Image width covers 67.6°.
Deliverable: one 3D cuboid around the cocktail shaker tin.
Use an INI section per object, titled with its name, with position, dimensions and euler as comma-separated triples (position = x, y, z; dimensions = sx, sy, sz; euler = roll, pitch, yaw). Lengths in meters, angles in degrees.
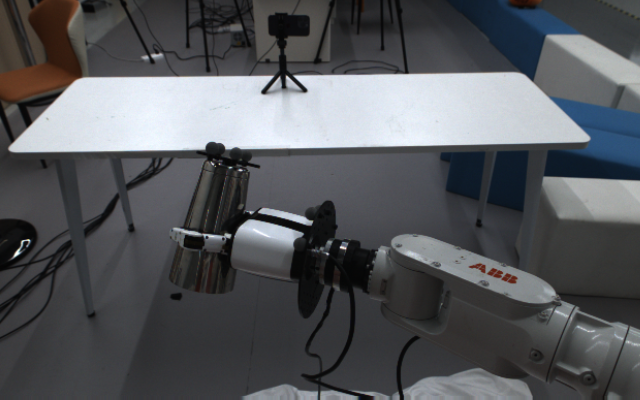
[cocktail shaker tin]
position = -0.147, 0.035, 0.677
dimensions = 0.093, 0.170, 0.093
euler = 13, 5, -1
